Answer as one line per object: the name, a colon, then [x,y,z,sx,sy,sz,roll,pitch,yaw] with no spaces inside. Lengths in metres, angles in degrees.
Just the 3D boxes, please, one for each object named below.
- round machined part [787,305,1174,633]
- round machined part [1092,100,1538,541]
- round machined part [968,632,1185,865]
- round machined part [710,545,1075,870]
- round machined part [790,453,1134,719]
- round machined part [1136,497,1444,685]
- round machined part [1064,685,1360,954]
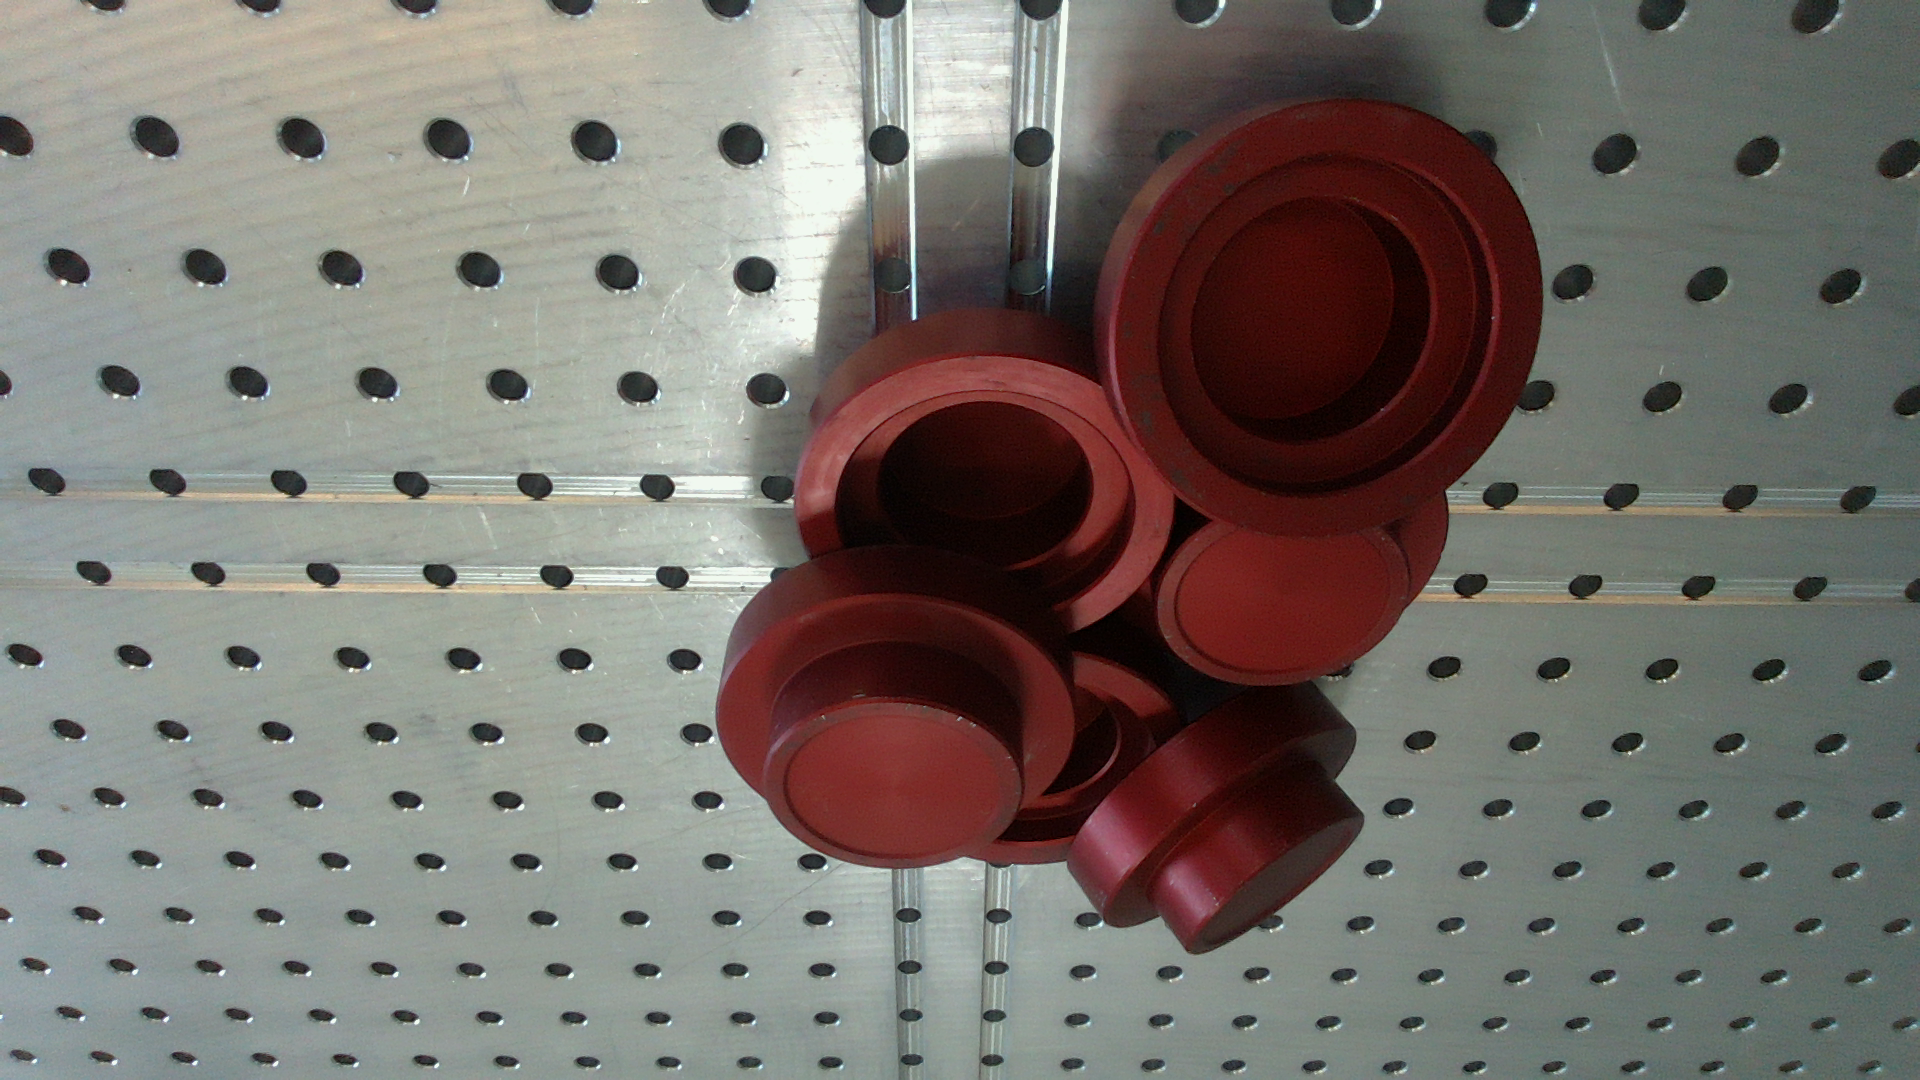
round machined part: [0.005,-0.020,0.366,0.098,0.042,0.098,0,130,0]
round machined part: [0.079,-0.053,0.324,0.098,0.042,0.098,-2,109,-6]
round machined part: [0.020,0.055,0.429,0.098,0.042,0.098,0,130,0]
round machined part: [-0.018,0.051,0.370,0.098,0.042,0.098,0,130,0]
round machined part: [-0.001,0.014,0.393,0.098,0.042,0.098,0,130,0]
round machined part: [0.086,0.003,0.385,0.098,0.042,0.098,0,130,0]
round machined part: [0.084,0.090,0.427,0.098,0.042,0.098,-27,149,-17]
